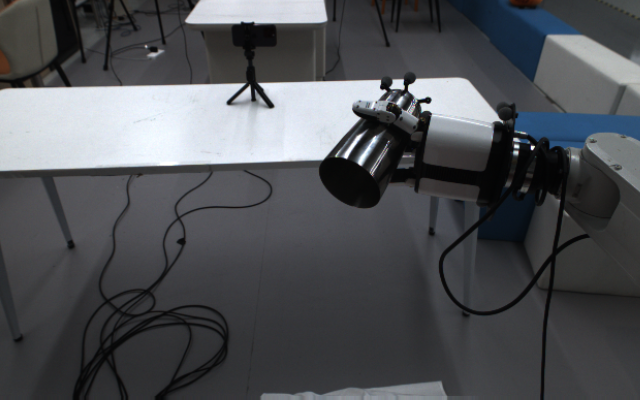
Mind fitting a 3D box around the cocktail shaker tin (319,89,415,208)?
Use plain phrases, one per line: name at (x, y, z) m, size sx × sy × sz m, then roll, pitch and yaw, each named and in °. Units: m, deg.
cocktail shaker tin at (0.082, -0.085, 0.675) m, size 0.093 × 0.093 × 0.170 m, roll 19°, pitch 55°, yaw 23°
